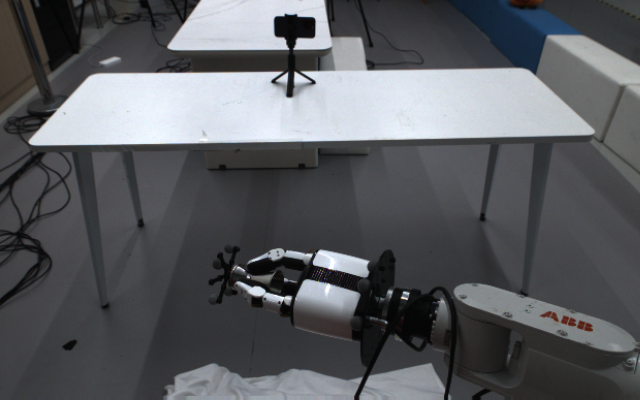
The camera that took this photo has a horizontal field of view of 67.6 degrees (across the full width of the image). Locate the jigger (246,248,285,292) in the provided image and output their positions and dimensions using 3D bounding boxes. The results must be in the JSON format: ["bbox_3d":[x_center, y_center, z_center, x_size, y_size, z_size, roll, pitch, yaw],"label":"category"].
[{"bbox_3d":[-0.087,0.116,0.712,0.071,0.043,0.043,8,34,23],"label":"jigger"}]
